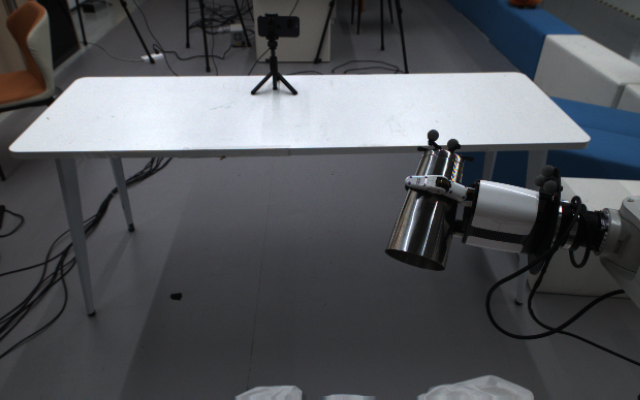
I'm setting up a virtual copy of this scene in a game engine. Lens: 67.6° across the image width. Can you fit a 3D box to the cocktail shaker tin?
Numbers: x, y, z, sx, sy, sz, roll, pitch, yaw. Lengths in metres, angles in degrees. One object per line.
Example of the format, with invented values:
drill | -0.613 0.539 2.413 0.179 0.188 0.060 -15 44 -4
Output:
cocktail shaker tin | 0.167 0.011 0.737 0.093 0.093 0.170 15 75 18
